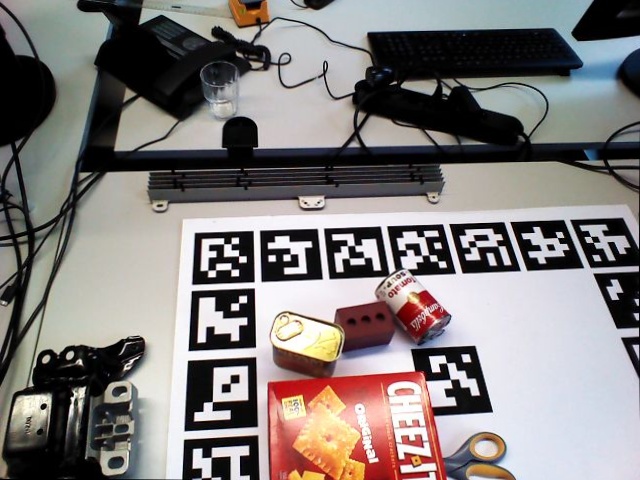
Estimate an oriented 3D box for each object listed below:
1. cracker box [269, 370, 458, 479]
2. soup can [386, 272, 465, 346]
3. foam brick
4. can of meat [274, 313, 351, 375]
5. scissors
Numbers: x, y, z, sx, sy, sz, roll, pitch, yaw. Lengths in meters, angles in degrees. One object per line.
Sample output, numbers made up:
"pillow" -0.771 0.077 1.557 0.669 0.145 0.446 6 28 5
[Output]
"cracker box" 0.050 0.263 0.658 0.214 0.072 0.163 -8 58 -3
"soup can" 0.160 0.102 0.791 0.067 0.068 0.102 -36 61 -22
"foam brick" 0.080 0.128 0.772 0.078 0.051 0.052 -11 60 -9
"can of meat" -0.012 0.149 0.733 0.102 0.084 0.057 10 59 3
"scissors" 0.167 0.304 0.674 0.203 0.016 0.087 -6 60 -6
